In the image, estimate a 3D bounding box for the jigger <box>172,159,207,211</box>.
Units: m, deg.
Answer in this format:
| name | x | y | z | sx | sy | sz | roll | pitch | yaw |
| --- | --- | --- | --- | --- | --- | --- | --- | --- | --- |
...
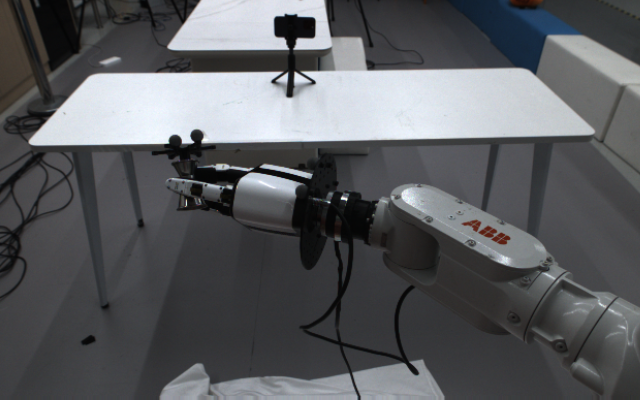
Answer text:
| name | x | y | z | sx | sy | sz | roll | pitch | yaw |
| --- | --- | --- | --- | --- | --- | --- | --- | --- | --- |
| jigger | -0.187 | -0.021 | 0.693 | 0.043 | 0.071 | 0.043 | -9 | -4 | -1 |
